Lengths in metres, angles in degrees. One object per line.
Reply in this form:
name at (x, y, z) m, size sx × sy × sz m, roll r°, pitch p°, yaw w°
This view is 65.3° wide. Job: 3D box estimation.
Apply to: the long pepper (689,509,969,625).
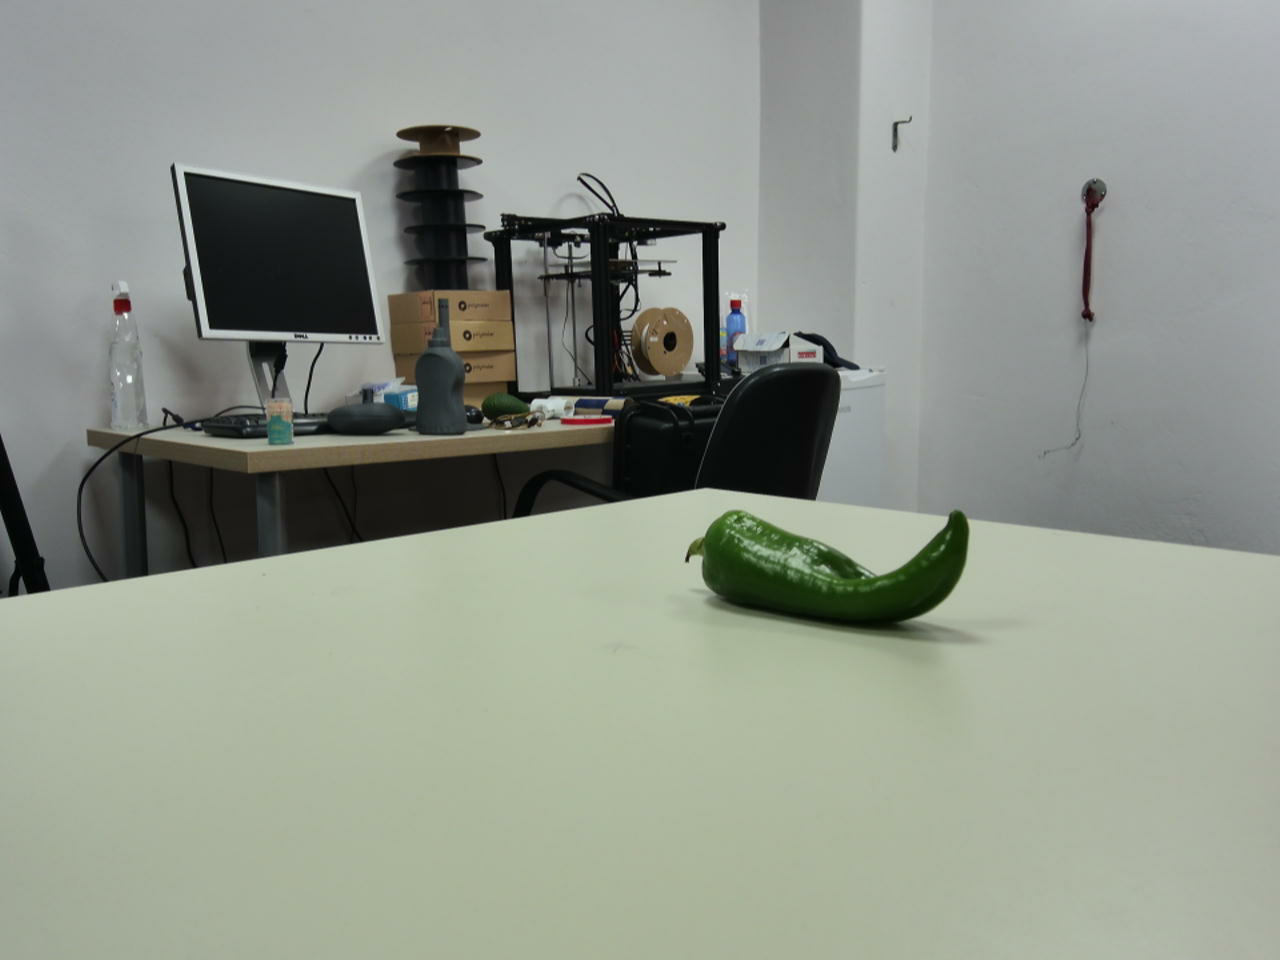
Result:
long pepper at (0.094, 0.042, 0.555) m, size 0.058 × 0.065 × 0.175 m, roll -4°, pitch 8°, yaw -44°
